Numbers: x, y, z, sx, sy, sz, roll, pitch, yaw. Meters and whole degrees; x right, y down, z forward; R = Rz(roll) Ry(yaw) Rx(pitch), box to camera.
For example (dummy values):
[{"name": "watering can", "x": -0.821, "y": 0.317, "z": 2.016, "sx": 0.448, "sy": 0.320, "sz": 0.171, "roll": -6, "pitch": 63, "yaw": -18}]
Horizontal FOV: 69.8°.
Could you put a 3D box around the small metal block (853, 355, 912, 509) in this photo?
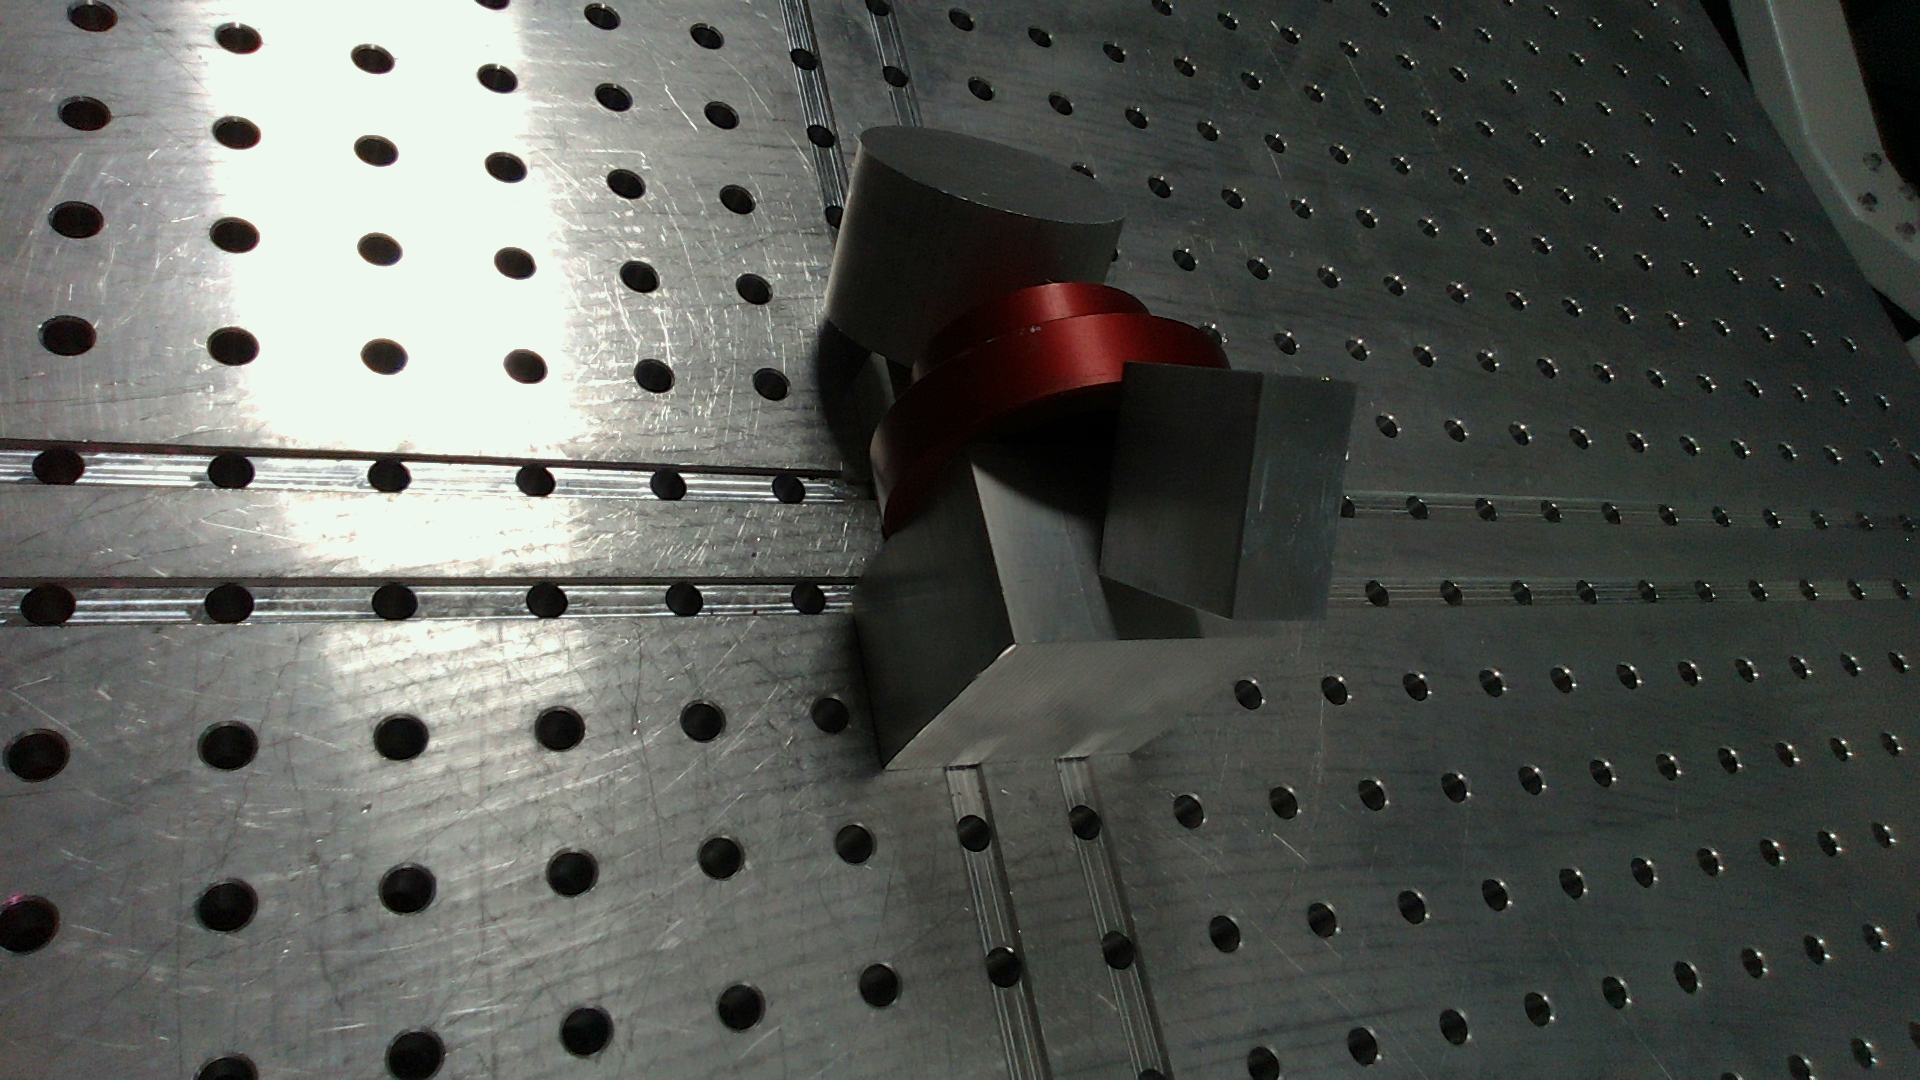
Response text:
[{"name": "small metal block", "x": 0.000, "y": -0.031, "z": 0.411, "sx": 0.050, "sy": 0.025, "sz": 0.050, "roll": 1, "pitch": 61, "yaw": -28}]

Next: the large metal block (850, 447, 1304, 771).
[{"name": "large metal block", "x": 0.027, "y": 0.020, "z": 0.358, "sx": 0.080, "sy": 0.080, "sz": 0.050, "roll": 1, "pitch": 61, "yaw": -28}]

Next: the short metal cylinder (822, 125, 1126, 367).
[{"name": "short metal cylinder", "x": 0.003, "y": -0.086, "z": 0.409, "sx": 0.080, "sy": 0.050, "sz": 0.080, "roll": 13, "pitch": 27, "yaw": -7}]

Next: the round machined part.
[{"name": "round machined part", "x": 0.024, "y": -0.031, "z": 0.365, "sx": 0.098, "sy": 0.098, "sz": 0.042, "roll": 1, "pitch": 61, "yaw": -28}]

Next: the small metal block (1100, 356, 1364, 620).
[{"name": "small metal block", "x": 0.057, "y": -0.013, "z": 0.298, "sx": 0.025, "sy": 0.050, "sz": 0.050, "roll": 1, "pitch": 99, "yaw": -28}]
